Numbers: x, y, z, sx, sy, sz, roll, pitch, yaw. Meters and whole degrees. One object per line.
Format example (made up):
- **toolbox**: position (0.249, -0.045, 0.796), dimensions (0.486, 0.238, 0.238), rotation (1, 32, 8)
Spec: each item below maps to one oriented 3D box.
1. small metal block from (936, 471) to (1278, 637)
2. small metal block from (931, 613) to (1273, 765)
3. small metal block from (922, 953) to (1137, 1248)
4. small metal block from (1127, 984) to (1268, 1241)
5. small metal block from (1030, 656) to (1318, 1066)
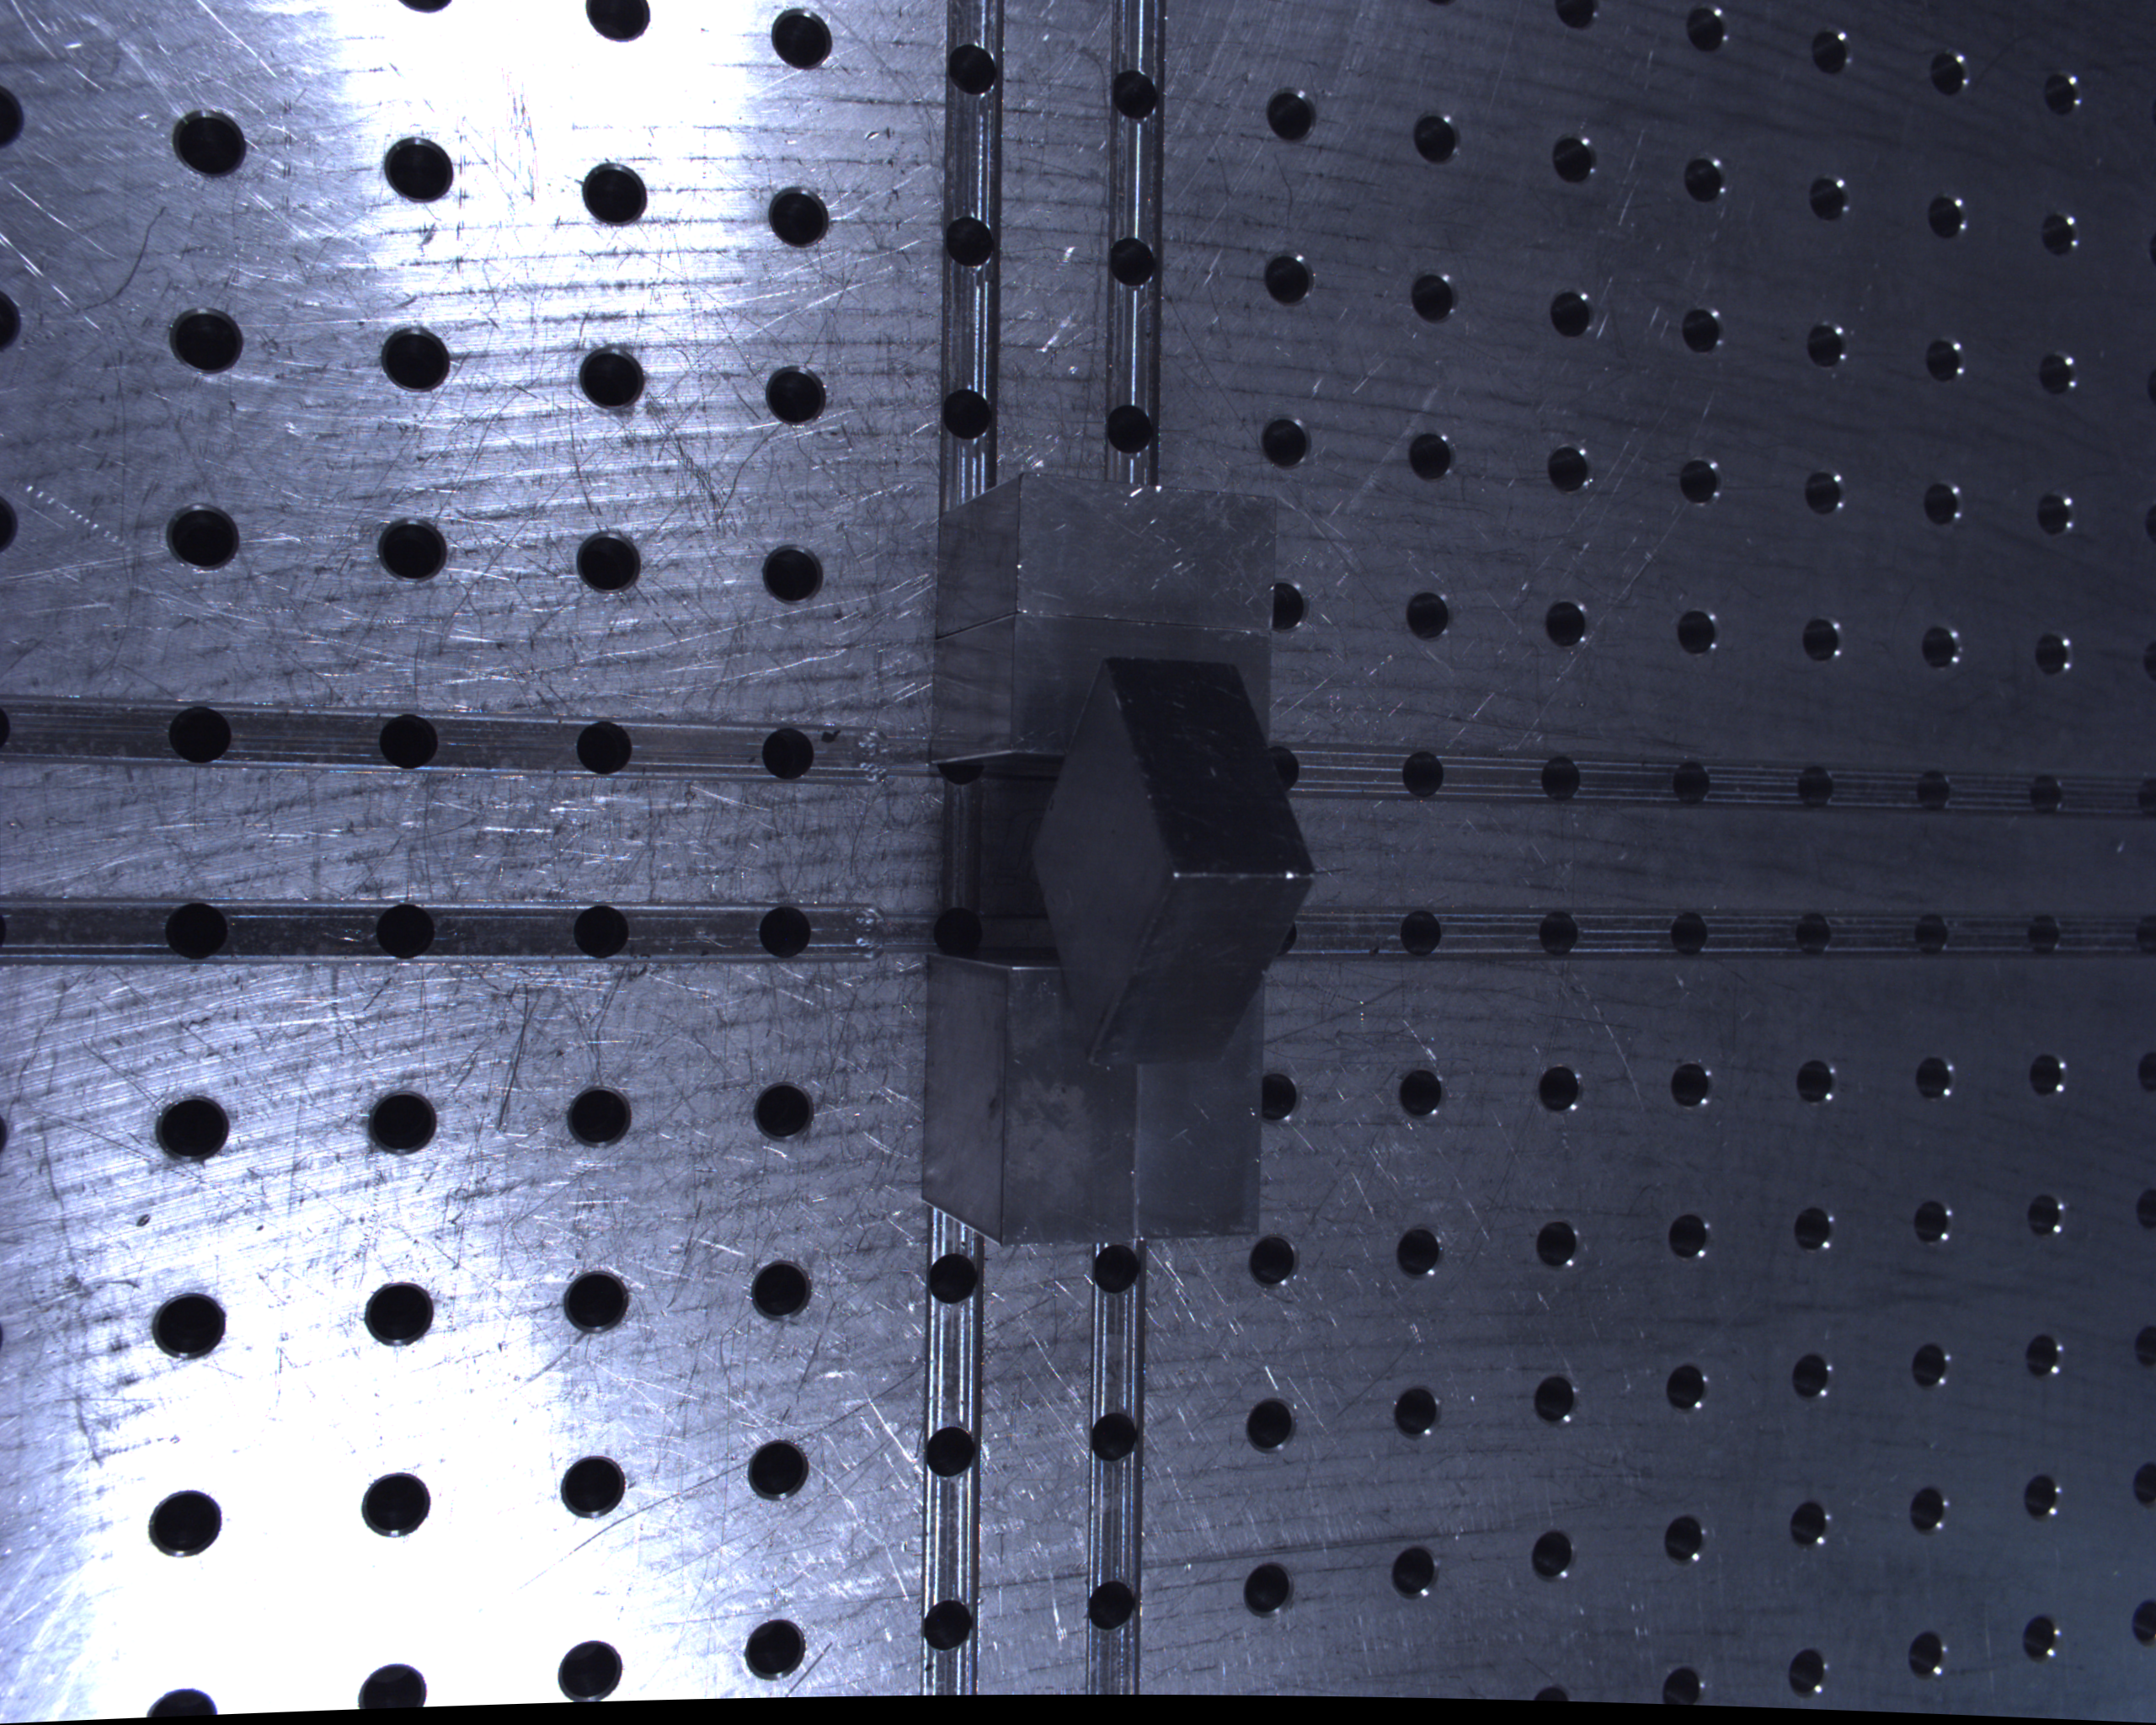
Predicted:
- **small metal block**: position (0.004, -0.056, 0.401), dimensions (0.050, 0.050, 0.025), rotation (2, 90, -20)
- **small metal block**: position (0.003, -0.031, 0.401), dimensions (0.050, 0.050, 0.025), rotation (2, 90, -20)
- **small metal block**: position (-0.010, 0.043, 0.396), dimensions (0.025, 0.050, 0.050), rotation (2, 90, -20)
- **small metal block**: position (0.014, 0.044, 0.404), dimensions (0.025, 0.050, 0.050), rotation (2, 90, -20)
- **small metal block**: position (0.015, 0.000, 0.362), dimensions (0.025, 0.050, 0.050), rotation (1, 48, -20)
